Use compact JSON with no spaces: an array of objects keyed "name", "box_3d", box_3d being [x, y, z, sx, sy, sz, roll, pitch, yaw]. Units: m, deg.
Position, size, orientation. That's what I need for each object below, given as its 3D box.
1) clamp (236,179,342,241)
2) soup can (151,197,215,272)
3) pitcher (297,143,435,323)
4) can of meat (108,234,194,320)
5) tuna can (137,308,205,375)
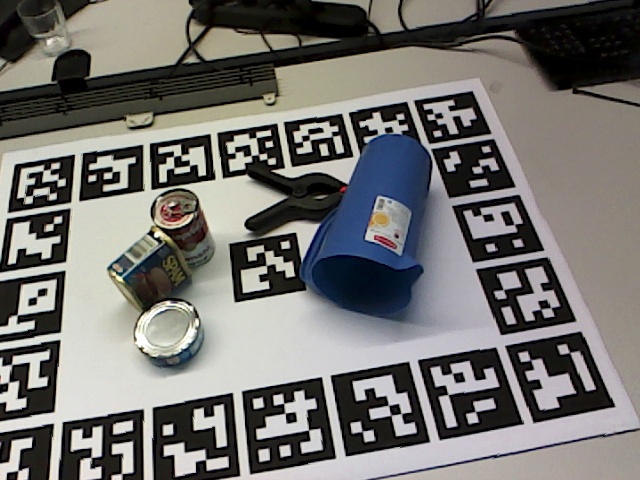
[{"name":"clamp","box_3d":[-0.047,-0.055,0.965,0.165,0.036,0.122,-6,51,-3]},{"name":"soup can","box_3d":[-0.196,-0.006,0.895,0.068,0.101,0.068,-3,58,5]},{"name":"pitcher","box_3d":[0.076,-0.017,0.854,0.190,0.132,0.242,-5,45,28]},{"name":"can of meat","box_3d":[-0.232,0.055,0.851,0.083,0.101,0.058,-42,64,-17]},{"name":"tuna can","box_3d":[-0.200,0.138,0.836,0.086,0.033,0.086,-2,57,3]}]
